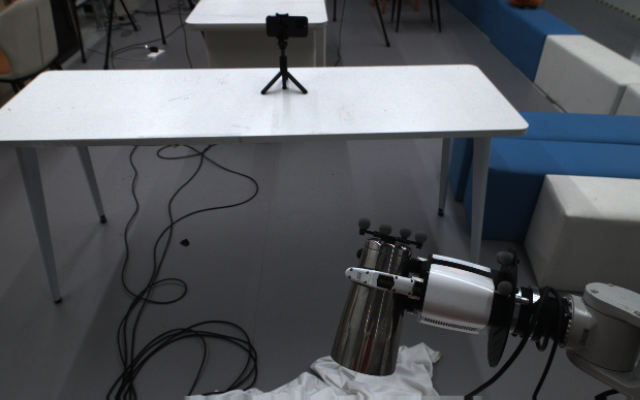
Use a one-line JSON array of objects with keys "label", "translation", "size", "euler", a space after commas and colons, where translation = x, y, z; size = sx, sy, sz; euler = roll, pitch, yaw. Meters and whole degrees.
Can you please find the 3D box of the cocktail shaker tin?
[{"label": "cocktail shaker tin", "translation": [0.081, 0.140, 0.675], "size": [0.093, 0.170, 0.093], "euler": [13, 1, 0]}]
